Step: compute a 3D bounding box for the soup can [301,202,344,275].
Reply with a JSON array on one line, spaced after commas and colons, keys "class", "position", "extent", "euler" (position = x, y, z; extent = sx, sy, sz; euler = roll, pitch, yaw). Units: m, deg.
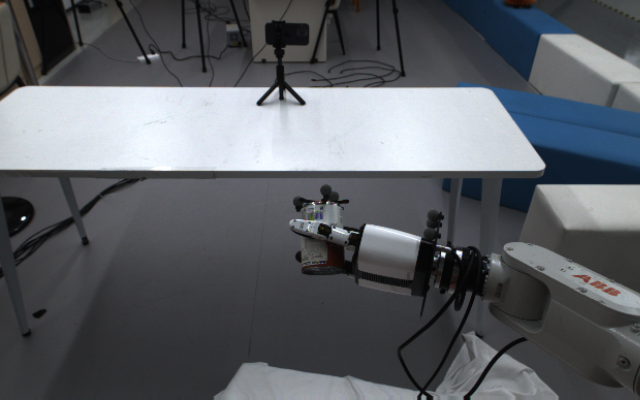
[{"class": "soup can", "position": [0.006, 0.060, 0.739], "extent": [0.067, 0.067, 0.101], "euler": [-1, 71, -5]}]
